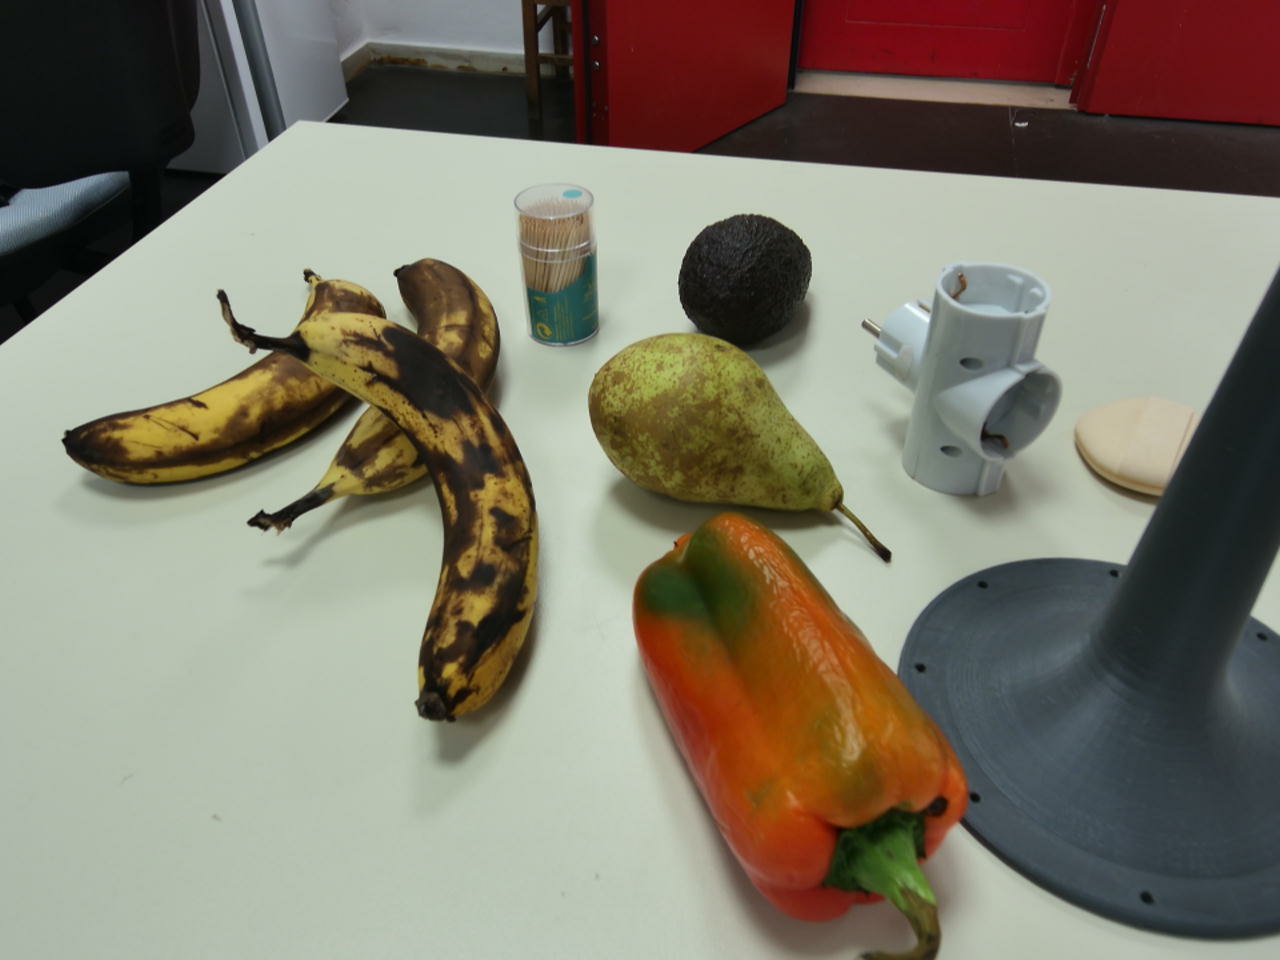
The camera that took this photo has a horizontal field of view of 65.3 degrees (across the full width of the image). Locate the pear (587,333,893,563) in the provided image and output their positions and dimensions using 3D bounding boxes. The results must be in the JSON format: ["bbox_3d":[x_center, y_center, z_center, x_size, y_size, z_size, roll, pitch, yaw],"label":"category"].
[{"bbox_3d":[0.043,-0.023,0.420,0.128,0.075,0.071,4,38,5],"label":"pear"}]
